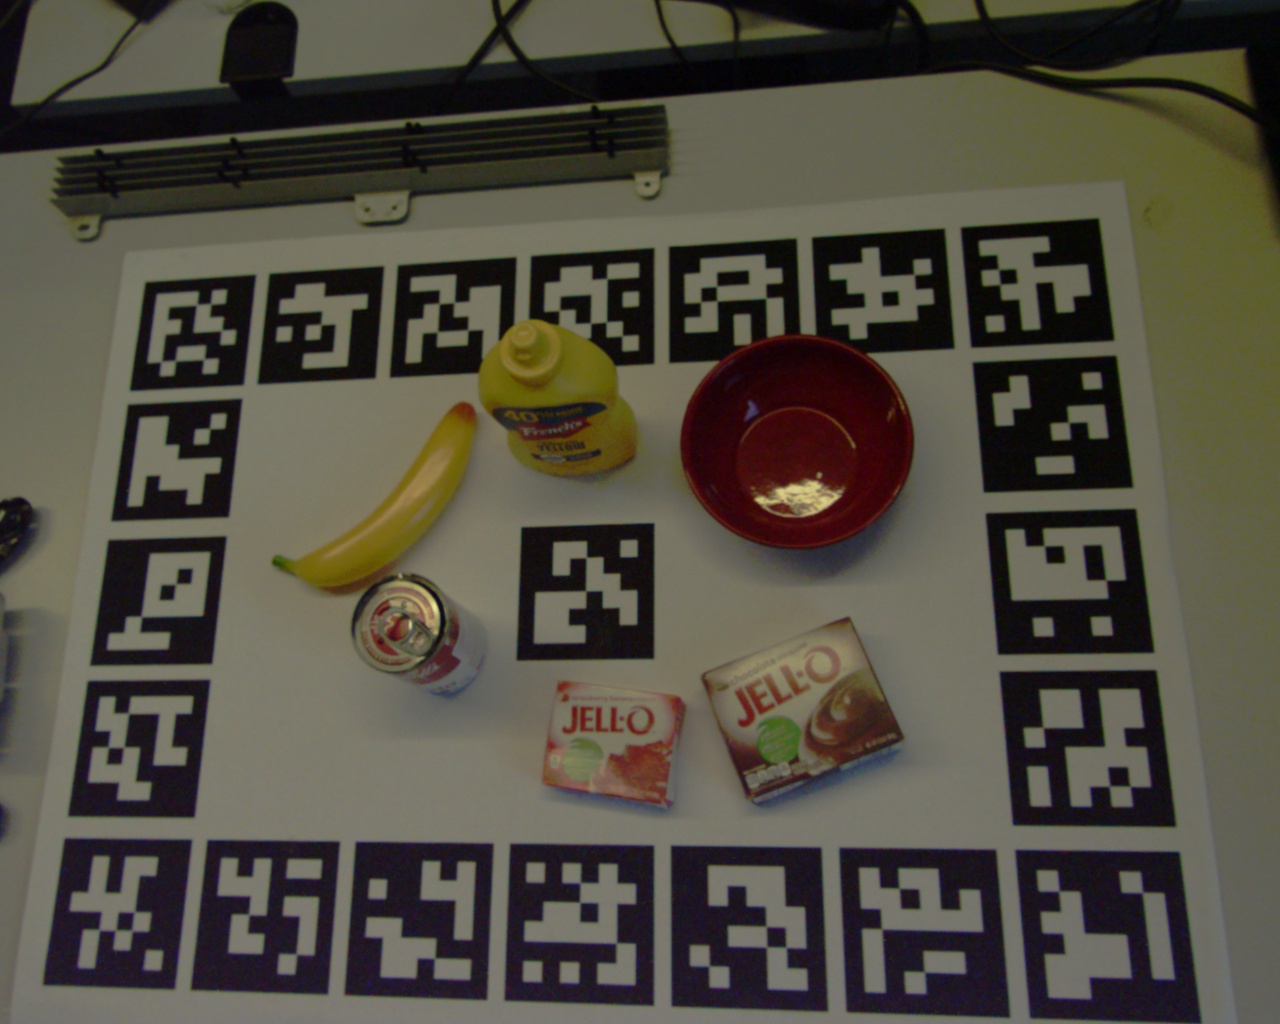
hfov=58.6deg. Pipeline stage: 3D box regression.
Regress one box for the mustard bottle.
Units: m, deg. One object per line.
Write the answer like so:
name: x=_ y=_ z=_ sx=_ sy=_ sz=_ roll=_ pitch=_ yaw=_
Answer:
mustard bottle: x=-0.064 y=-0.076 z=0.811 sx=0.096 sy=0.190 sz=0.058 roll=-1 pitch=70 yaw=7

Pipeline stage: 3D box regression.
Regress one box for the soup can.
soup can: x=-0.166 y=0.086 z=0.825 sx=0.068 sy=0.101 sz=0.068 roll=-2 pitch=71 yaw=5

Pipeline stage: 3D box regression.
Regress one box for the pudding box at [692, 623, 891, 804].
pudding box: x=0.105 y=0.143 z=0.807 sx=0.114 sy=0.038 sz=0.090 roll=-24 pitch=76 yaw=1

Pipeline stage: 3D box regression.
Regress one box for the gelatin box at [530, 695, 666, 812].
gelatin box: x=-0.030 y=0.174 z=0.823 sx=0.090 sy=0.030 sz=0.073 roll=5 pitch=77 yaw=11

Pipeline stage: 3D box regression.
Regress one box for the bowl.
bowl: x=0.115 y=-0.040 z=0.857 sx=0.162 sy=0.055 sz=0.162 roll=-3 pitch=72 yaw=9

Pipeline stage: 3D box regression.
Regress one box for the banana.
banana: x=-0.200 y=-0.008 z=0.903 sx=0.197 sy=0.038 sz=0.075 roll=-47 pitch=62 yaw=-7
